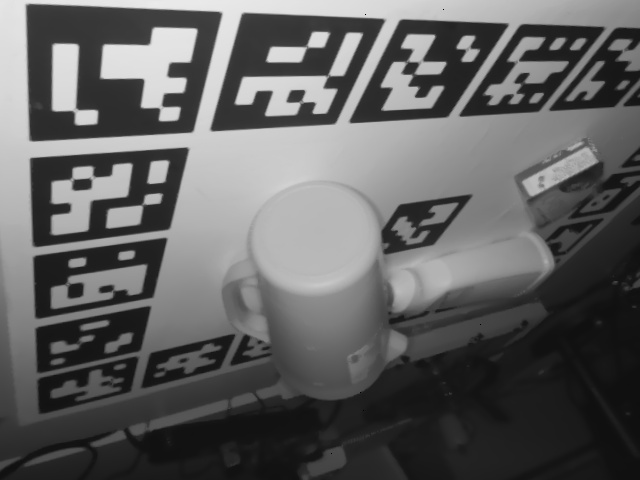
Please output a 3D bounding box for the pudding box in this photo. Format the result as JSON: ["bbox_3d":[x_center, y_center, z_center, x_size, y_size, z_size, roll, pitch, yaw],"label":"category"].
[{"bbox_3d":[0.301,-0.060,0.775,0.089,0.039,0.114,-27,148,14],"label":"pudding box"}]

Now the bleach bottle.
[{"bbox_3d":[0.201,0.059,0.870,0.254,0.068,0.101,-8,141,-23],"label":"bleach bottle"}]

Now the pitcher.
[{"bbox_3d":[0.003,0.038,0.665,0.188,0.135,0.241,7,146,14],"label":"pitcher"}]
